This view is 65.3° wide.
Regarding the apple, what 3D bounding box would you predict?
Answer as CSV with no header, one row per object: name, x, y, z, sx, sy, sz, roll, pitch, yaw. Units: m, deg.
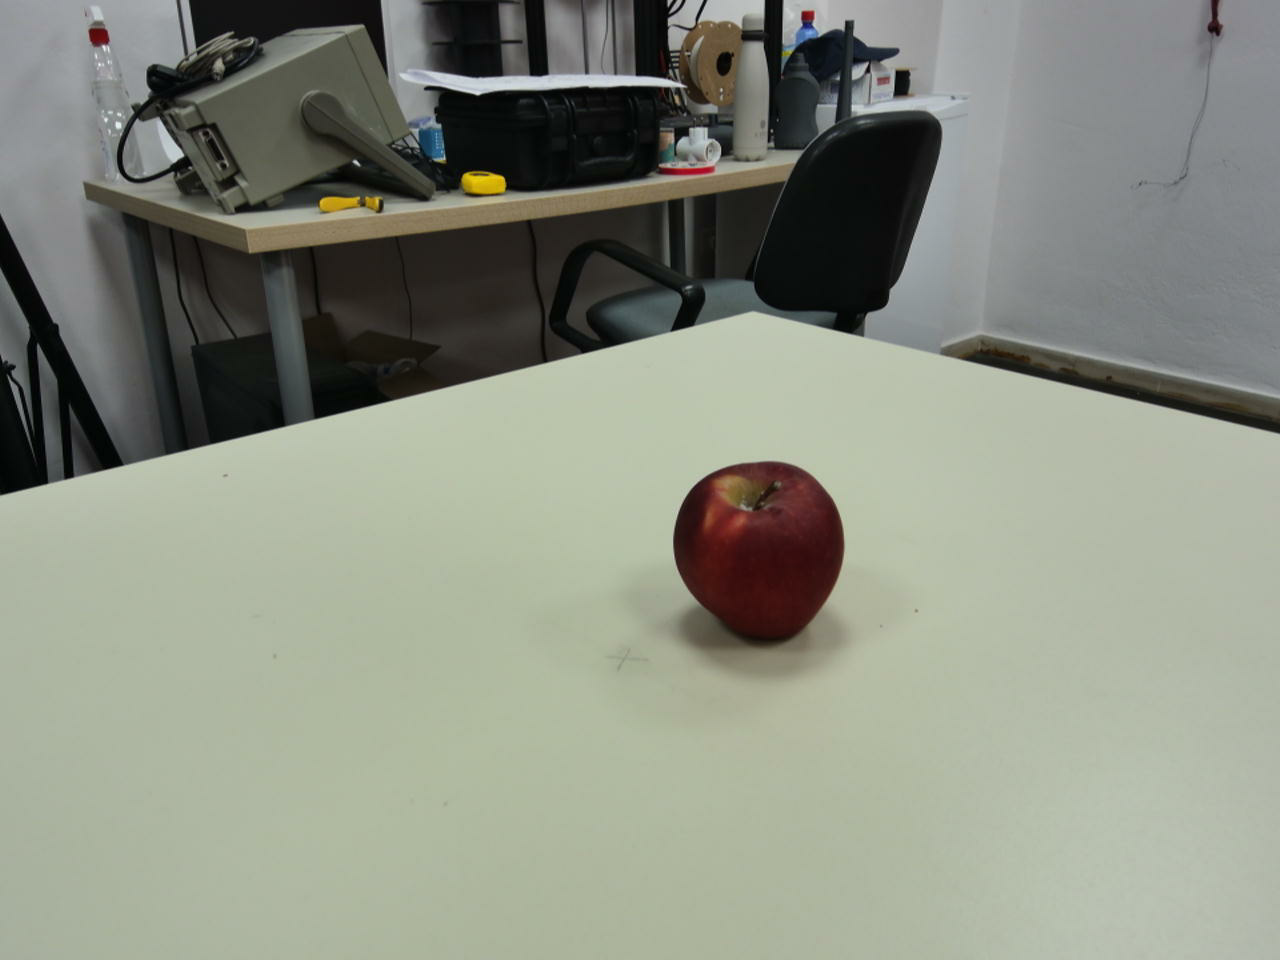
apple,0.049,0.027,0.407,0.070,0.072,0.070,0,22,0
